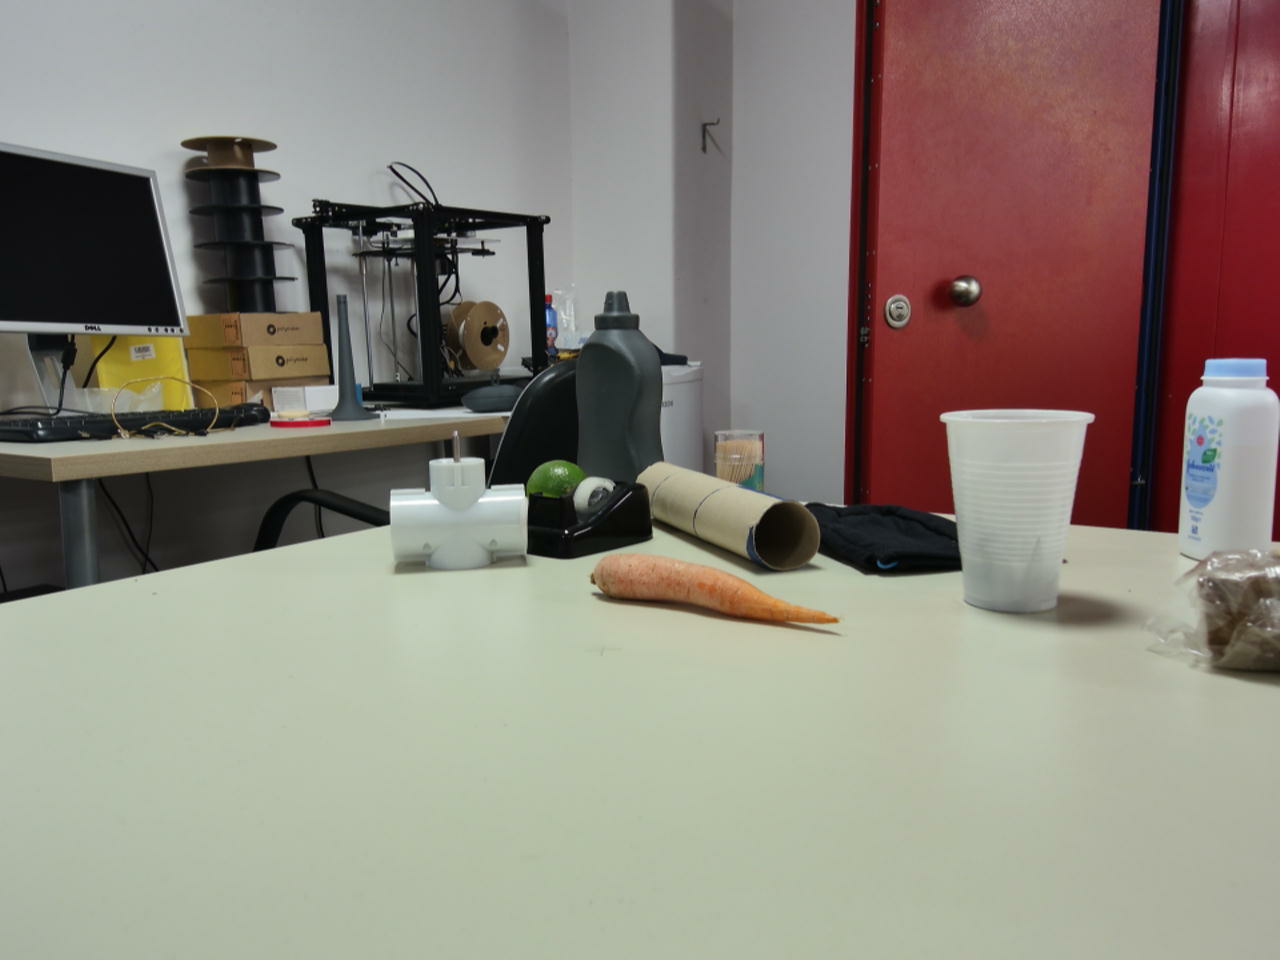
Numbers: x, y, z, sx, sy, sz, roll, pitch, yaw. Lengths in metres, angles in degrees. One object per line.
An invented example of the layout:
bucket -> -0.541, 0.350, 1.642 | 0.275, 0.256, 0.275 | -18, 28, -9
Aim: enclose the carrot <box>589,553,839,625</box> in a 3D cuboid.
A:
carrot -> 0.038, 0.061, 0.563 | 0.163, 0.029, 0.031 | 5, 7, 35
